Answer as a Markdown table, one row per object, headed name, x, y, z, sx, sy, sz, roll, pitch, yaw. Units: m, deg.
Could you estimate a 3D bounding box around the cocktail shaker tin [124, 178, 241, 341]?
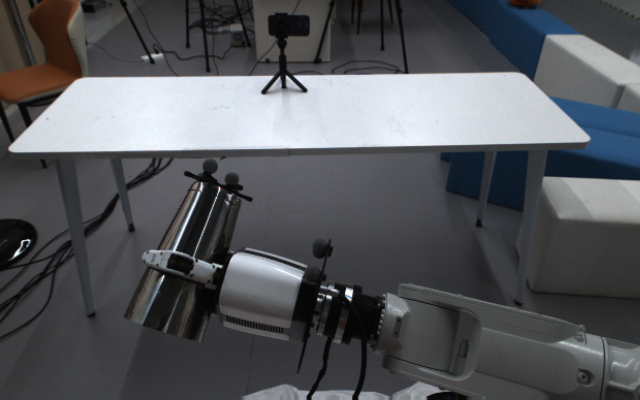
| name | x | y | z | sx | sy | sz | roll | pitch | yaw |
| --- | --- | --- | --- | --- | --- | --- | --- | --- | --- |
| cocktail shaker tin | -0.154 | 0.070 | 0.571 | 0.093 | 0.093 | 0.170 | 14 | 74 | 17 |
